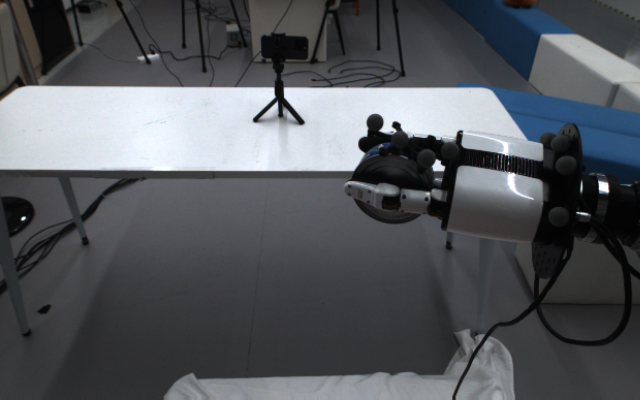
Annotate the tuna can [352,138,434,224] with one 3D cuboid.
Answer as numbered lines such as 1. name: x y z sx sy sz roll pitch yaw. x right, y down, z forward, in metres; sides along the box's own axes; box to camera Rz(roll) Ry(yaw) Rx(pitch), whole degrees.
1. tuna can: 0.081 -0.020 0.523 0.085 0.085 0.034 12 33 14
